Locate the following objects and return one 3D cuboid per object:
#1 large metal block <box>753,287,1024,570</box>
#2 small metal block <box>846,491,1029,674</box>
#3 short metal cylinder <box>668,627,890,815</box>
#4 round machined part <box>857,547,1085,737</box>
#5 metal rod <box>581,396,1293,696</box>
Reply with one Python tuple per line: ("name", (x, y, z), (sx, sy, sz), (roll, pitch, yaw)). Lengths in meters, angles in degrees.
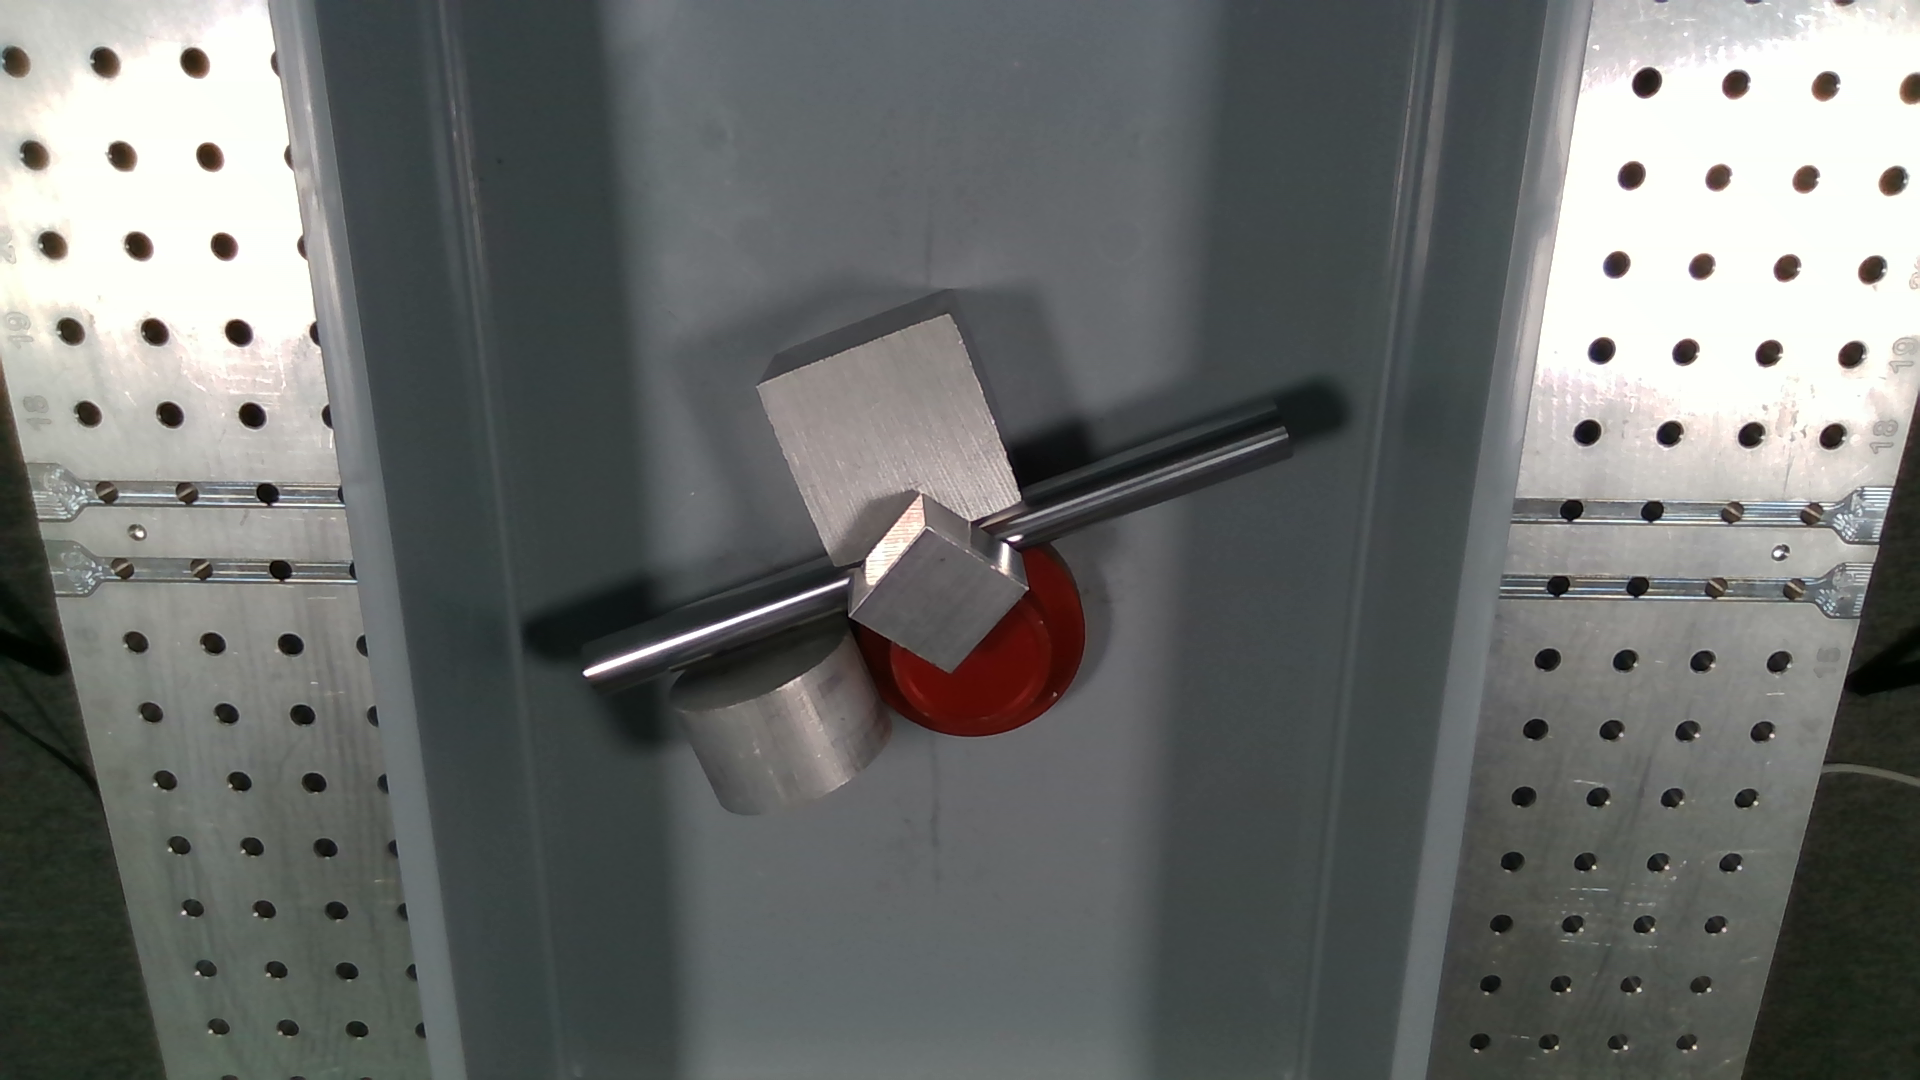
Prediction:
("large metal block", (-0.027, -0.045, 0.551), (0.080, 0.050, 0.080), (-19, 109, 7))
("small metal block", (-0.009, 0.017, 0.538), (0.050, 0.025, 0.050), (31, 115, -22))
("short metal cylinder", (-0.075, 0.071, 0.581), (0.080, 0.080, 0.050), (-20, 109, 7))
("round machined part", (0.005, 0.041, 0.589), (0.098, 0.042, 0.098), (0, 110, 0))
("metal rod", (-0.013, 0.004, 0.563), (0.300, 0.025, 0.025), (-19, 109, 7))
